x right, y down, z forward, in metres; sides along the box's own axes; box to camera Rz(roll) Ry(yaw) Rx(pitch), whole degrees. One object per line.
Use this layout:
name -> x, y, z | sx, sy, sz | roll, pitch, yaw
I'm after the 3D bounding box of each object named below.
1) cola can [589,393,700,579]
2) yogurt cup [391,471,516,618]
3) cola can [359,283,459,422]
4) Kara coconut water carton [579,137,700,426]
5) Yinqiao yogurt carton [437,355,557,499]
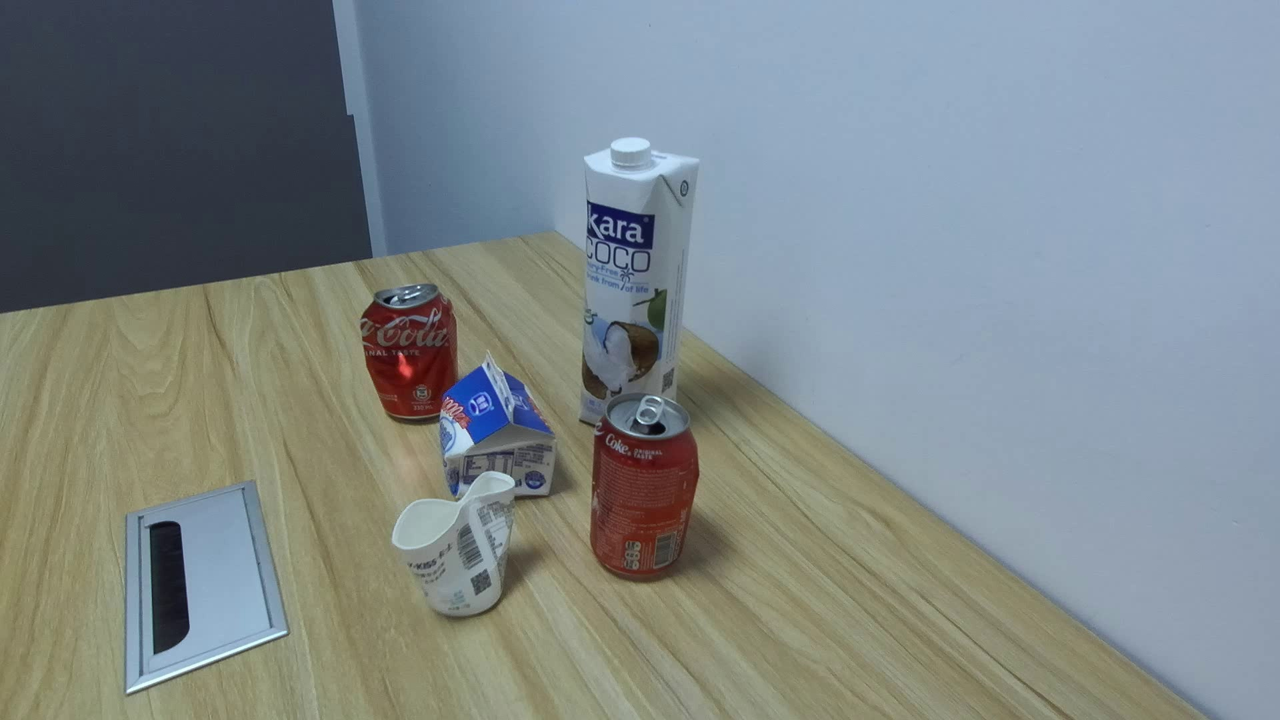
cola can -> -0.002, 0.083, 0.472 | 0.066, 0.117, 0.072 | -16, 36, -28
yogurt cup -> -0.114, 0.118, 0.446 | 0.053, 0.071, 0.075 | 10, 32, 9
cola can -> -0.194, -0.008, 0.616 | 0.069, 0.112, 0.065 | 7, 30, 7
Kara coconut water carton -> -0.006, -0.056, 0.575 | 0.076, 0.245, 0.075 | 19, 33, 26
Yinqiao yogurt carton -> -0.111, 0.050, 0.536 | 0.080, 0.097, 0.074 | -4, 32, -25
